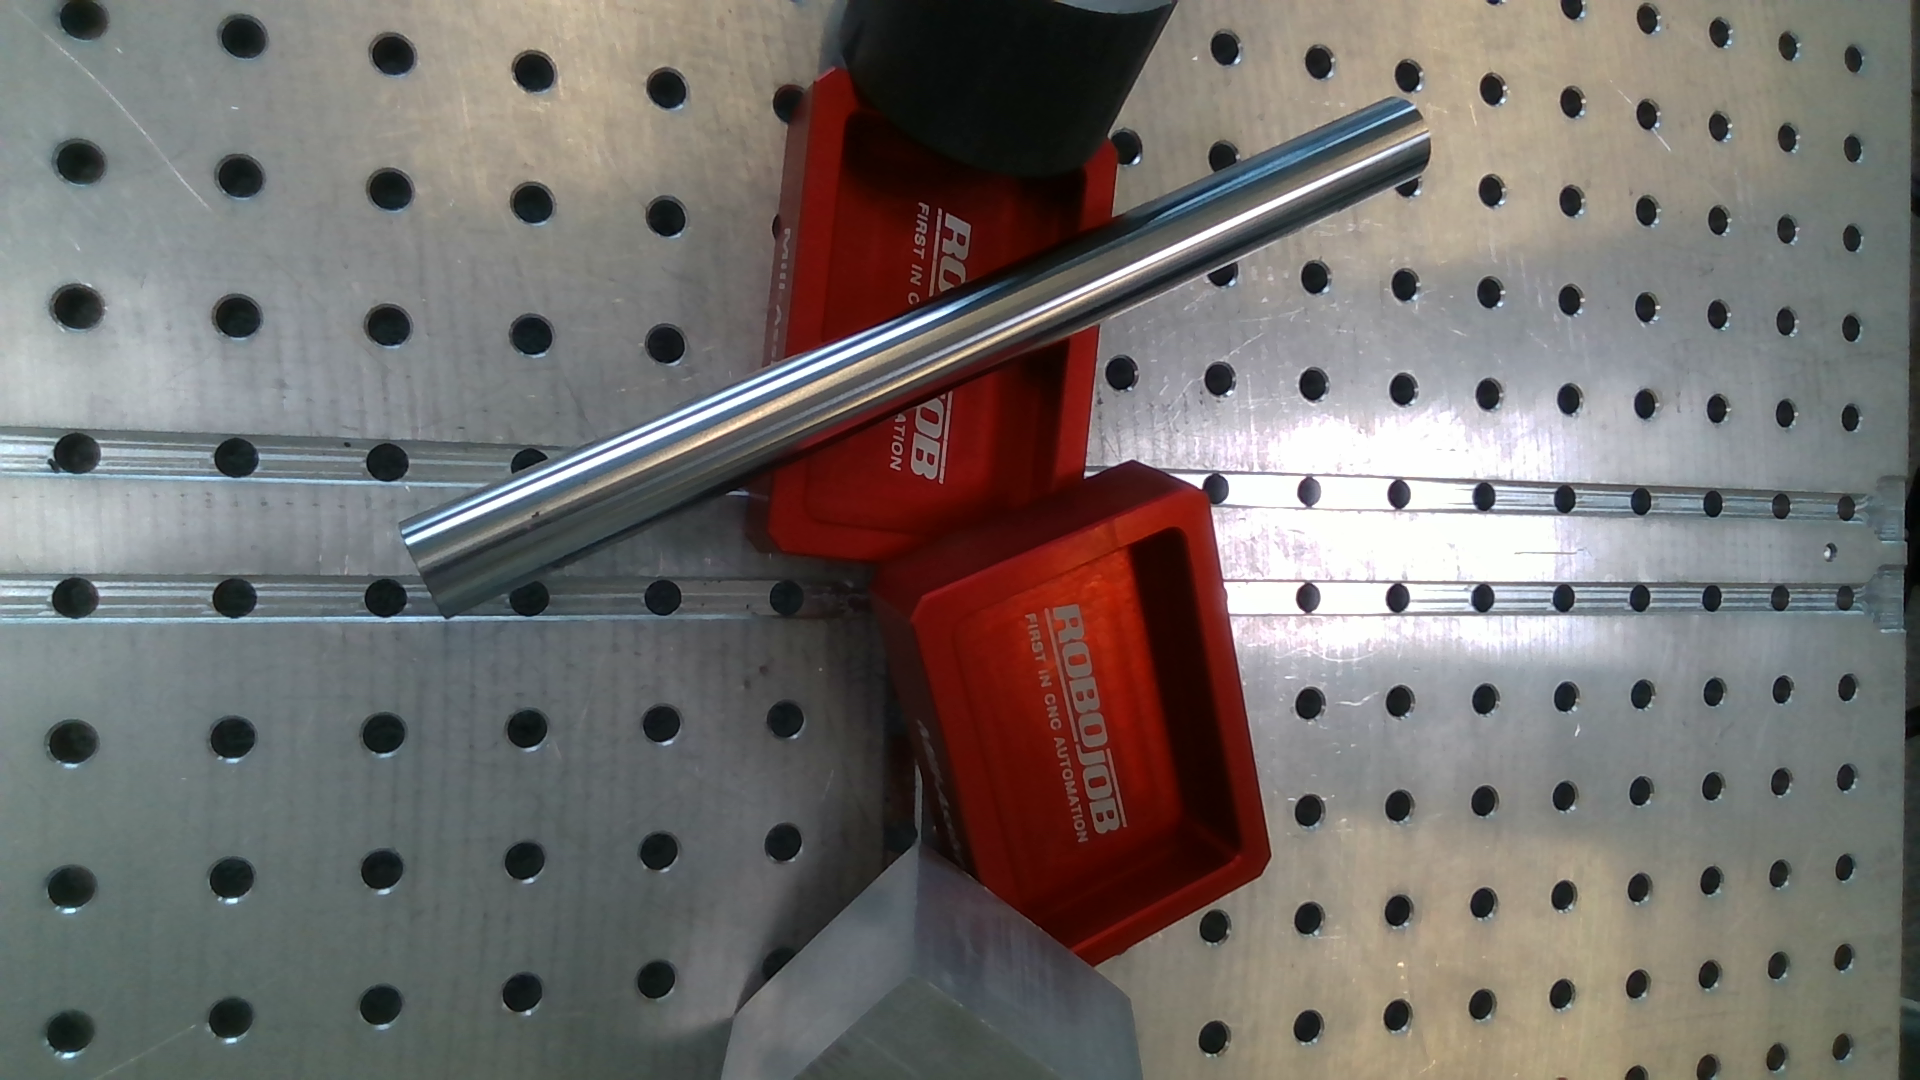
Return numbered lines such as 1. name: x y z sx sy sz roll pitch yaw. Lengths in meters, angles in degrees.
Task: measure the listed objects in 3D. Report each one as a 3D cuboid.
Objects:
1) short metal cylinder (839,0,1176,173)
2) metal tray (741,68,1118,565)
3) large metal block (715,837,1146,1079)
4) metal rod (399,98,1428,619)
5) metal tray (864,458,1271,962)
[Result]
1. short metal cylinder: 0.013 -0.145 0.368 0.080 0.050 0.080 12 51 -16
2. metal tray: -0.008 -0.056 0.390 0.090 0.030 0.130 7 88 -20
3. large metal block: -0.008 0.140 0.362 0.080 0.050 0.080 40 108 -16
4. metal rod: 0.003 -0.057 0.366 0.300 0.025 0.025 -27 99 -18
5. metal tray: 0.034 0.053 0.387 0.090 0.030 0.130 -23 114 -19
